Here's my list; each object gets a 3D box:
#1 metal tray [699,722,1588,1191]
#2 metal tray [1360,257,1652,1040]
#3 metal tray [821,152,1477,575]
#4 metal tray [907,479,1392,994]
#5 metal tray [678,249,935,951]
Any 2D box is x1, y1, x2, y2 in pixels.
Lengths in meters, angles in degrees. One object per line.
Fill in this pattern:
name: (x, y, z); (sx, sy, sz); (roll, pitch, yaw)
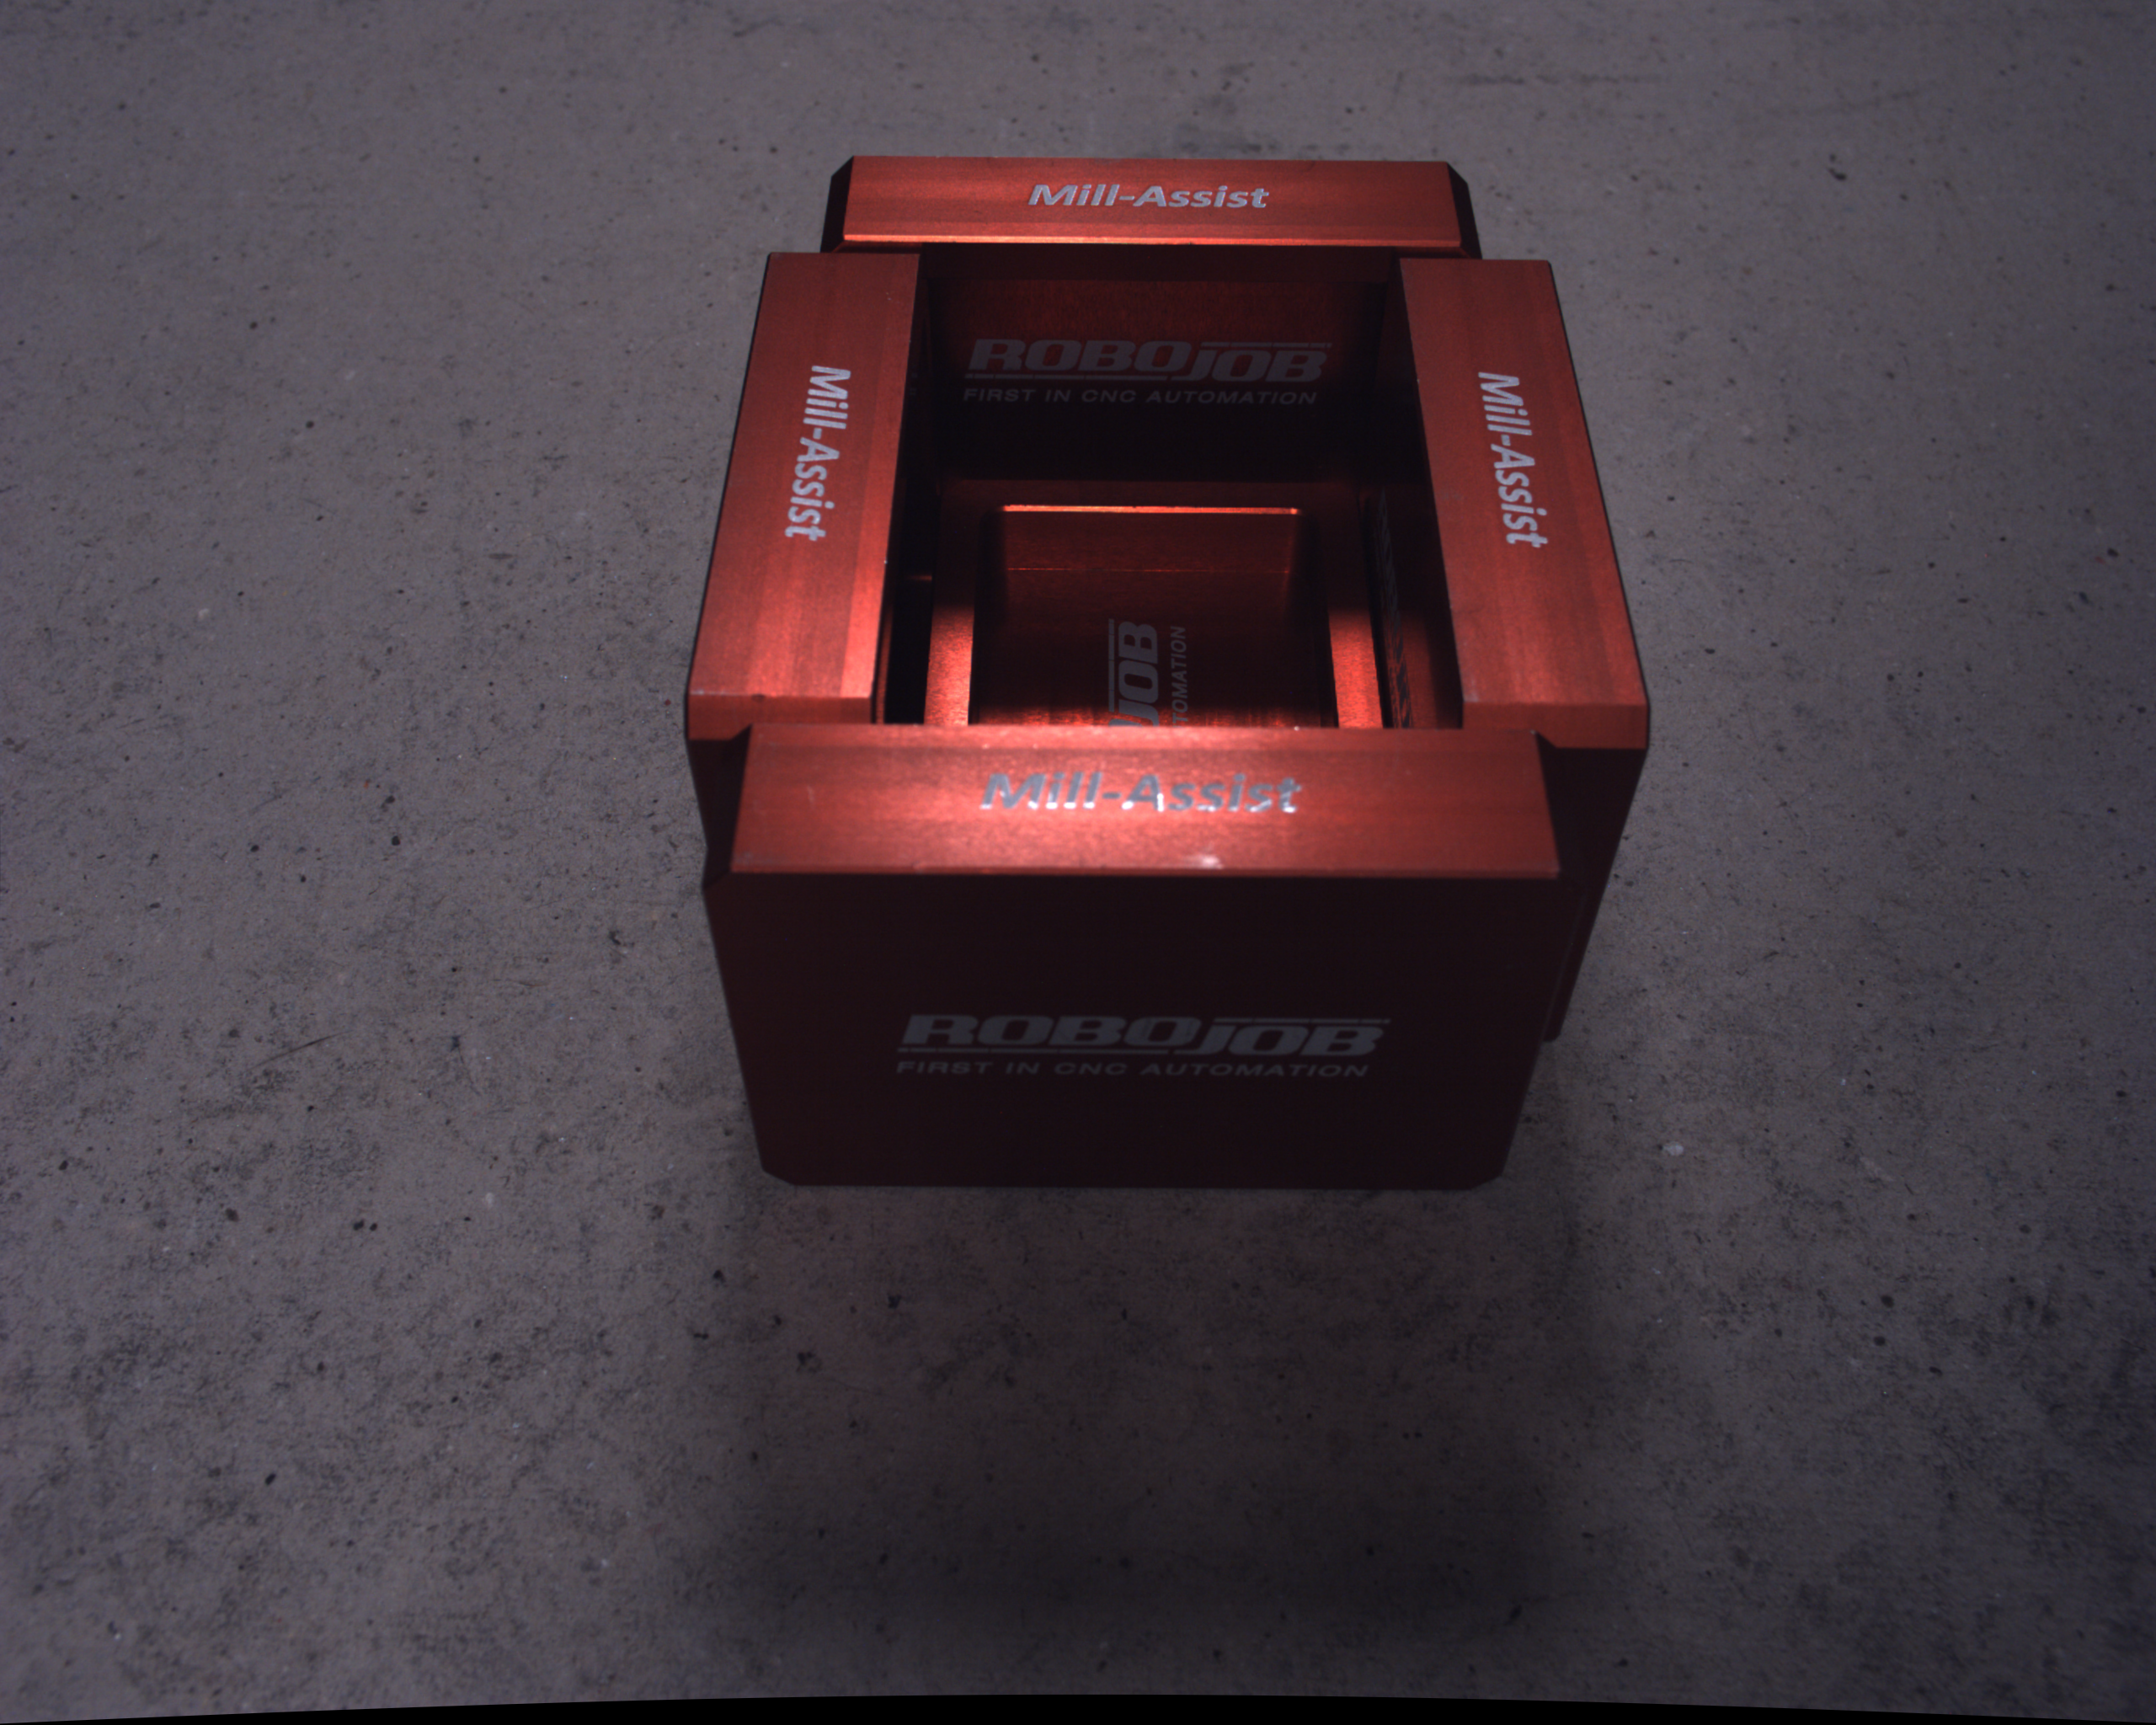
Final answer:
metal tray: (0.010, 0.018, 0.346); (0.131, 0.089, 0.030); (1, 50, 0)
metal tray: (0.075, -0.042, 0.398); (0.030, 0.089, 0.130); (1, 50, 0)
metal tray: (0.014, -0.105, 0.450); (0.131, 0.089, 0.030); (1, 50, 0)
metal tray: (0.014, -0.024, 0.422); (0.091, 0.030, 0.130); (1, 50, 0)
metal tray: (-0.047, -0.044, 0.398); (0.030, 0.089, 0.130); (1, 50, 0)
